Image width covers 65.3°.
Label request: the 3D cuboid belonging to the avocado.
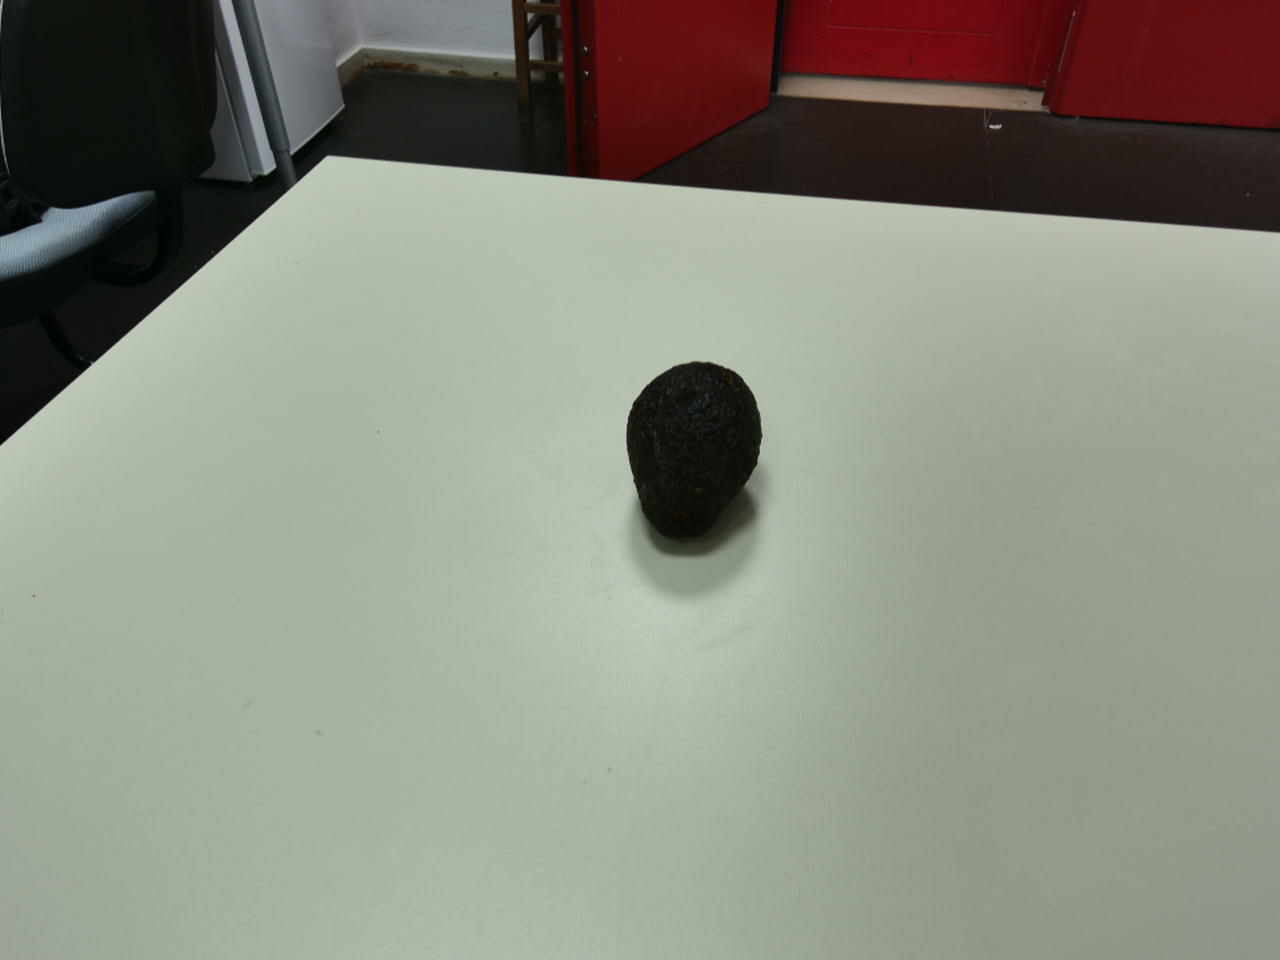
[{"bbox_3d":[0.024,-0.021,0.511,0.070,0.069,0.090,26,46,29],"label":"avocado"}]
